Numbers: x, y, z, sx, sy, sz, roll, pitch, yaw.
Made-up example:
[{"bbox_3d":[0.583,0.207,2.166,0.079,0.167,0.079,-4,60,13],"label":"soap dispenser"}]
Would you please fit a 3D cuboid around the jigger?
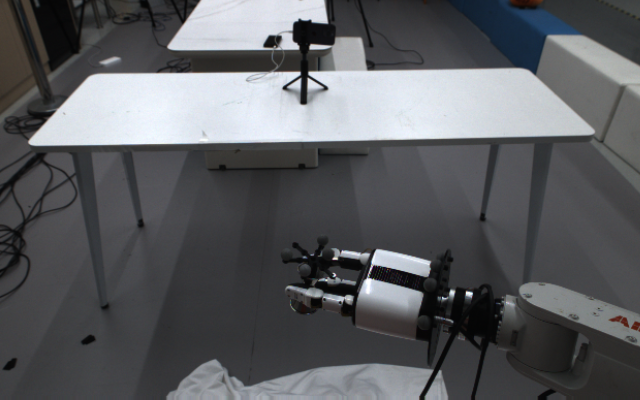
[{"bbox_3d":[-0.018,0.127,0.711,0.043,0.071,0.043,9,30,-5],"label":"jigger"}]
